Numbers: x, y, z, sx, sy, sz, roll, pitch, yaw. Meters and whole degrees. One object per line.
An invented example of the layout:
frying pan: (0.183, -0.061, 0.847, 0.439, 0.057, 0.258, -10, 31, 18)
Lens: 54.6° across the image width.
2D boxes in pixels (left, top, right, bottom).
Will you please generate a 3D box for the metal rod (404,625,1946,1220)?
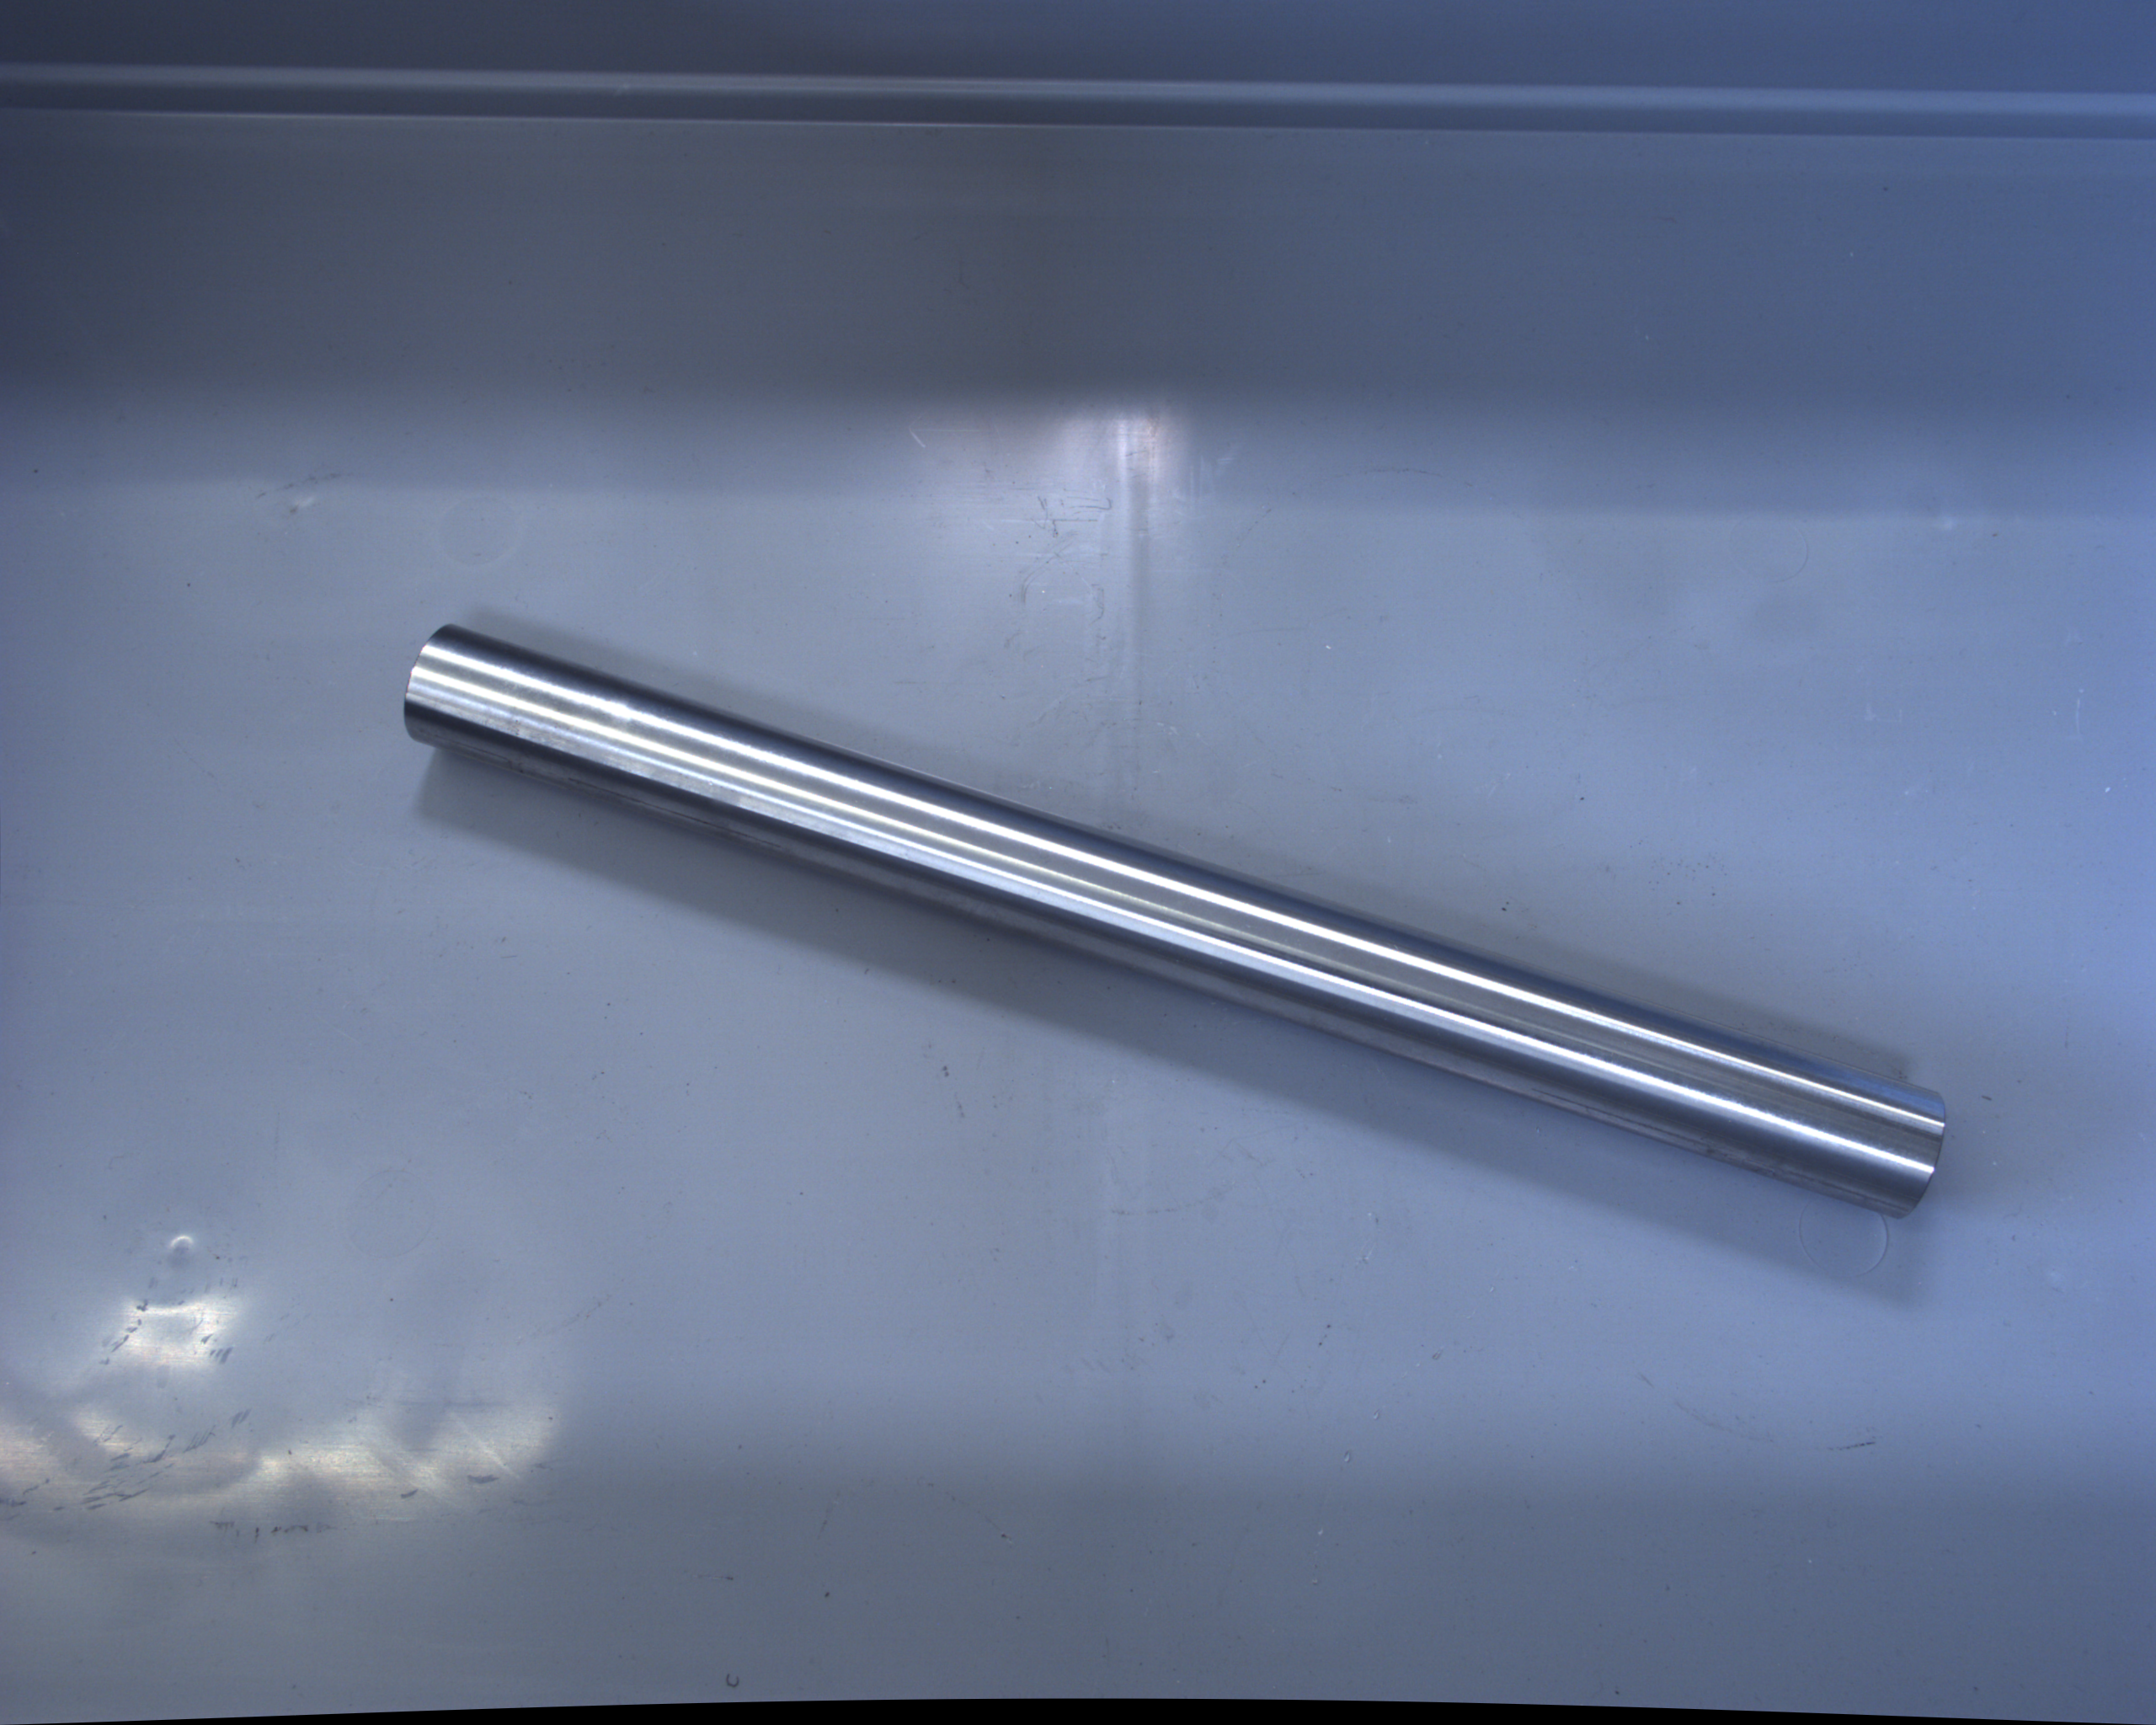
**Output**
metal rod: (0.014, 0.009, 0.405, 0.301, 0.025, 0.025, 18, 71, 6)
